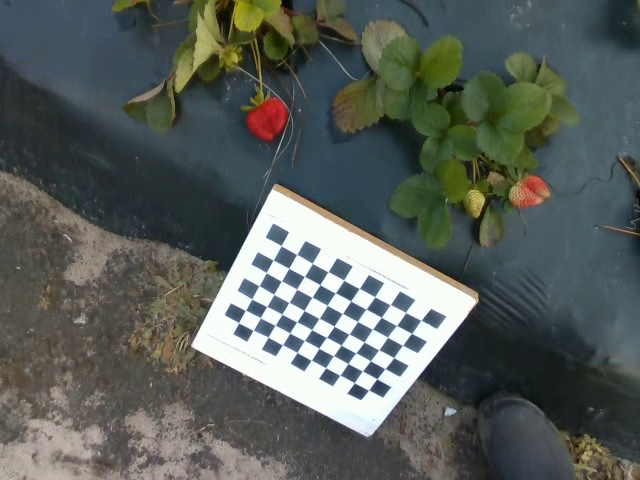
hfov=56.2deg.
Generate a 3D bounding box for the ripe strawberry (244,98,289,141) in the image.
[{"bbox_3d":[-0.017,-0.038,0.194,0.017,0.015,0.014,-35,-29,24],"label":"ripe strawberry"}]
